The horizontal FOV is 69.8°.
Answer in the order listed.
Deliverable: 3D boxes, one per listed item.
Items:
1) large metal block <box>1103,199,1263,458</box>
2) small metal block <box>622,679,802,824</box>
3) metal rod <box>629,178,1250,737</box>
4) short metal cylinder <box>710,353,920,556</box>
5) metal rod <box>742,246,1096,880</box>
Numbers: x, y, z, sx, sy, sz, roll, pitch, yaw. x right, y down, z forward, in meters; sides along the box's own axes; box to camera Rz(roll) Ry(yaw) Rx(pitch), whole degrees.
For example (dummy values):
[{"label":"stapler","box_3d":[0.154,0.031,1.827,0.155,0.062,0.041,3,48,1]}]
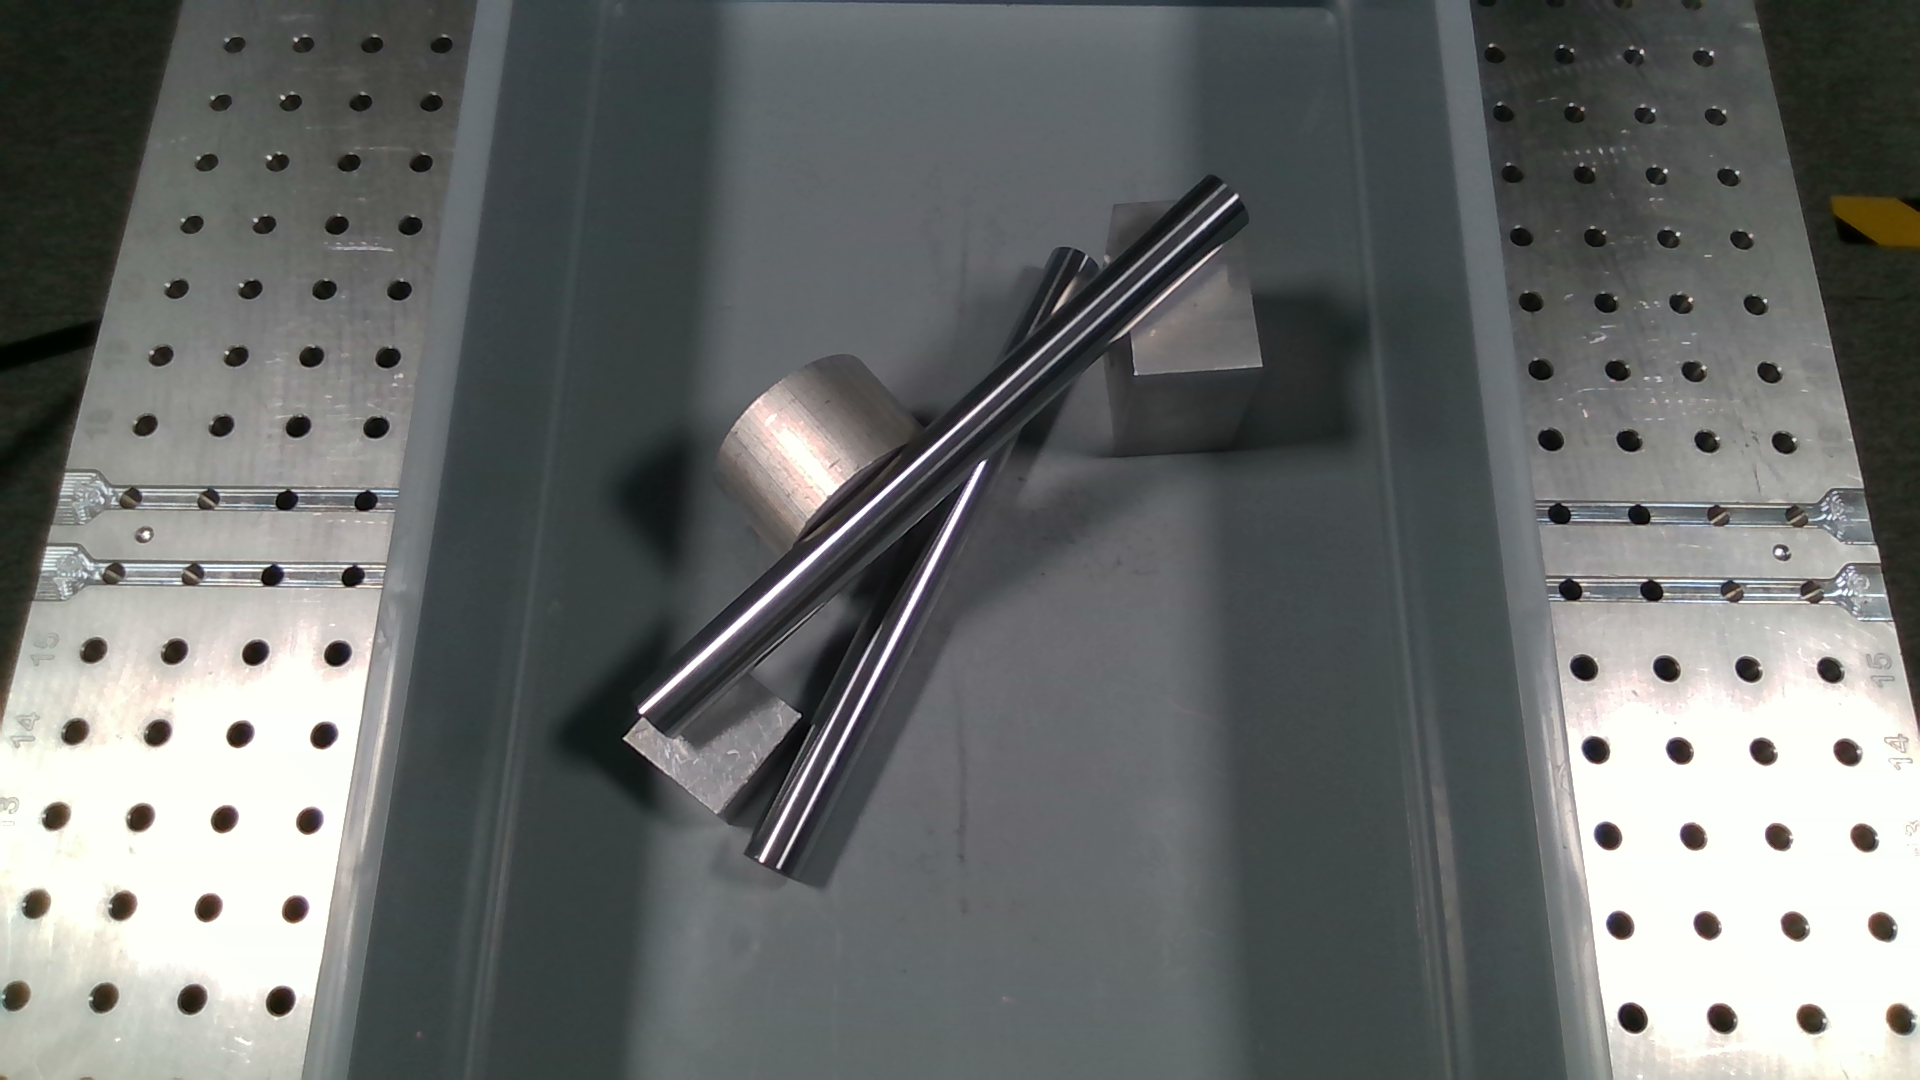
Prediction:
[{"label":"large metal block","box_3d":[0.091,-0.089,0.591,0.050,0.080,0.080,-4,70,-1]},{"label":"small metal block","box_3d":[-0.099,0.078,0.559,0.050,0.025,0.050,36,74,12]},{"label":"metal rod","box_3d":[-0.007,-0.032,0.537,0.300,0.025,0.025,-42,75,-1]},{"label":"short metal cylinder","box_3d":[-0.055,-0.030,0.568,0.080,0.080,0.050,-38,75,-13]},{"label":"metal rod","box_3d":[-0.011,0.001,0.587,0.025,0.025,0.299,24,72,8]}]
